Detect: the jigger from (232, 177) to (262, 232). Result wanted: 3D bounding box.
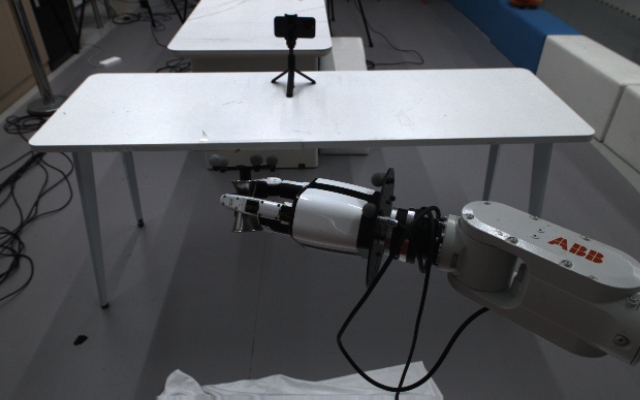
[{"bbox_3d":[-0.100,0.008,0.656,0.043,0.071,0.043,-2,3,0],"label":"jigger"}]
